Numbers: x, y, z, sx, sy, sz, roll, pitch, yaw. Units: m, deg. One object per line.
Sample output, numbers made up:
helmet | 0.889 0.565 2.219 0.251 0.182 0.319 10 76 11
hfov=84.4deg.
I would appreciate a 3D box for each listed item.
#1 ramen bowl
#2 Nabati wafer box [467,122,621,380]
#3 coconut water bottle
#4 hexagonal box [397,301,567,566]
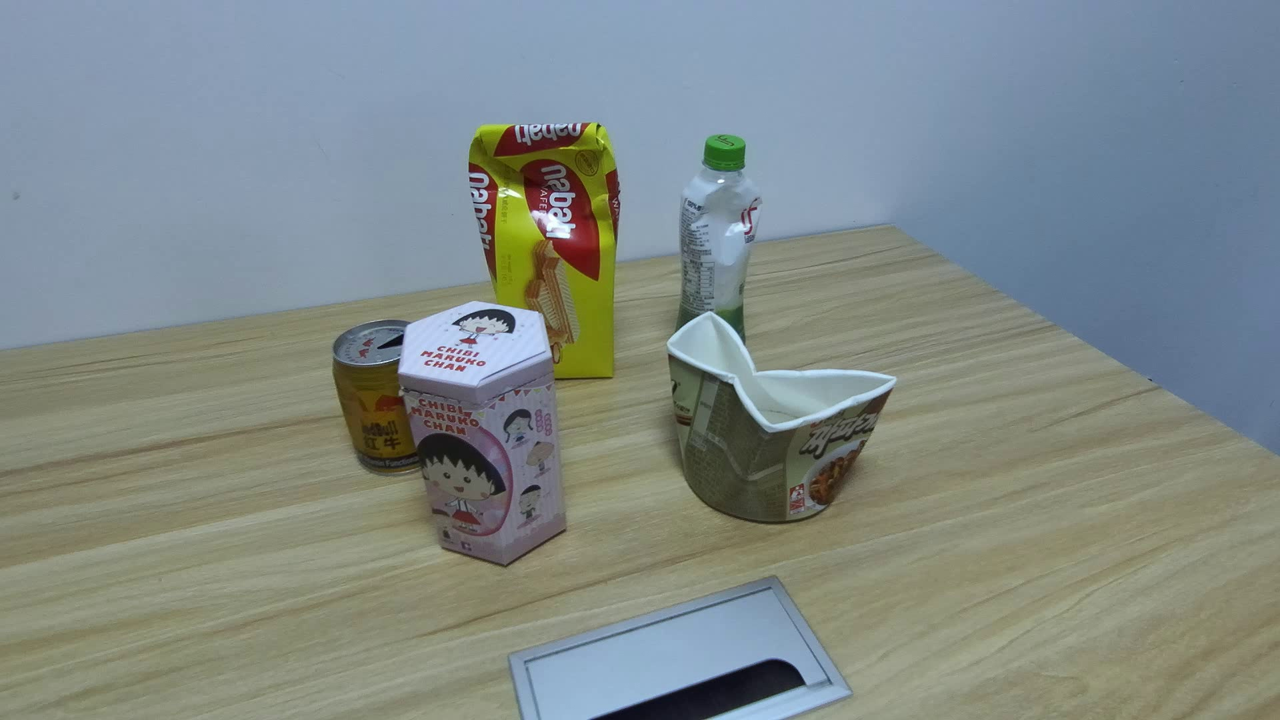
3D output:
ramen bowl | 0.081 0.035 0.478 0.112 0.093 0.127 -21 39 -27
Nabati wafer box | -0.069 -0.078 0.552 0.113 0.205 0.042 -2 31 -1
coconut water bottle | 0.062 -0.086 0.575 0.069 0.187 0.069 2 32 -1
hexagonal box | -0.091 0.046 0.425 0.091 0.136 0.084 9 34 15
